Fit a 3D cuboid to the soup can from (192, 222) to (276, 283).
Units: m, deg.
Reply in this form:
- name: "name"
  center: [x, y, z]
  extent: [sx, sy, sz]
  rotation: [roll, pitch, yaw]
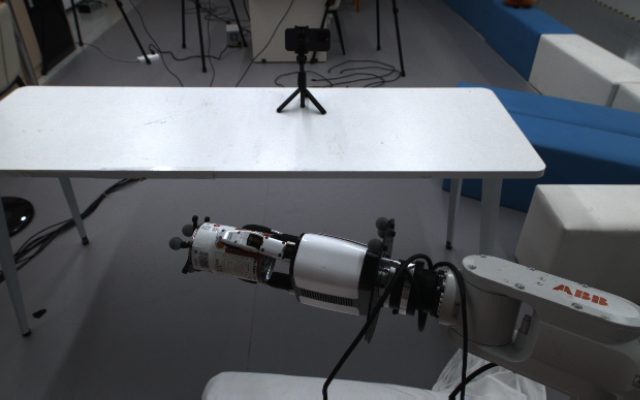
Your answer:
- name: "soup can"
  center: [-0.114, 0.072, 0.653]
  extent: [0.101, 0.067, 0.067]
  rotation: [9, 35, 10]
